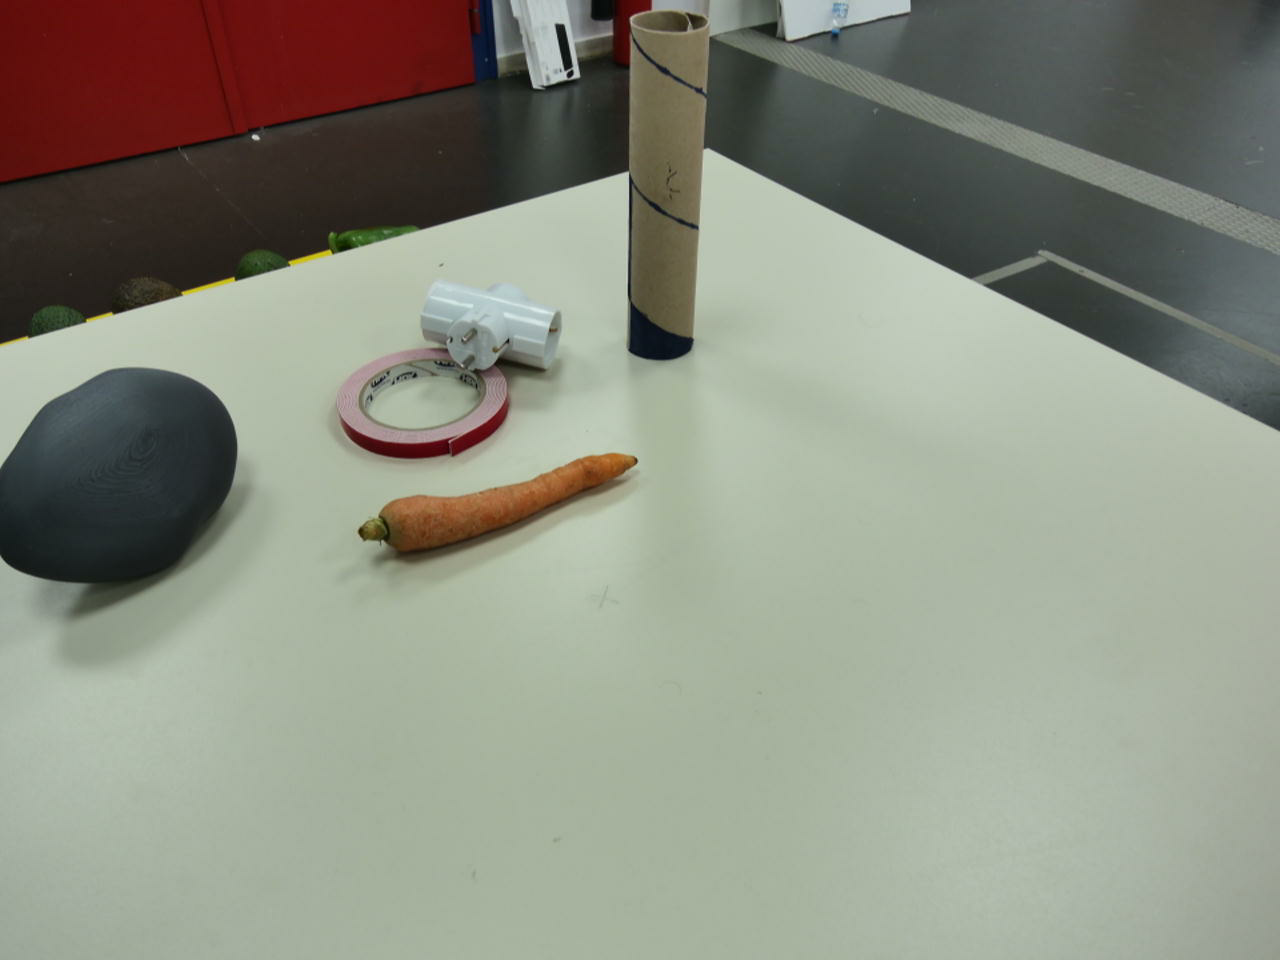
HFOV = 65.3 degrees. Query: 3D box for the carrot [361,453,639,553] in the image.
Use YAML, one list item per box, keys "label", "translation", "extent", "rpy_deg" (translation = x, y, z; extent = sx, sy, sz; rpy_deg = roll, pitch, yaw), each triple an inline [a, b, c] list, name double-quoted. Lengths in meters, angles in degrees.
- label: "carrot"
  translation: [-0.074, 0.009, 0.571]
  extent: [0.173, 0.032, 0.030]
  rpy_deg: [-18, 42, -22]
